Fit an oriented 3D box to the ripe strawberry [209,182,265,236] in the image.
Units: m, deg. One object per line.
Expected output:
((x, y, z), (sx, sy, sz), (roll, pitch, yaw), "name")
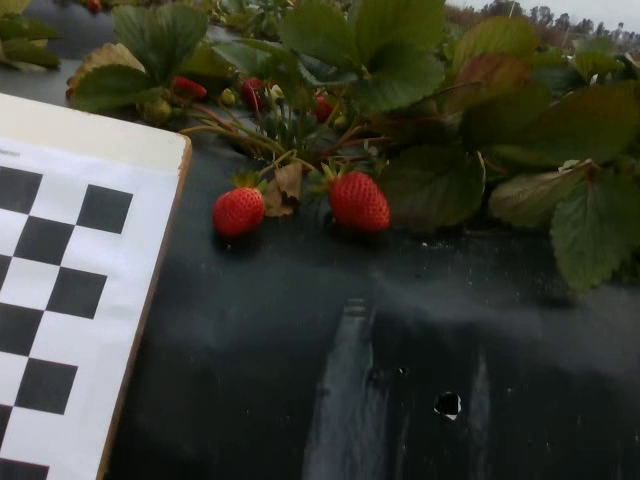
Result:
((-0.049, -0.019, 0.364), (0.036, 0.041, 0.028), (7, -38, 5), "ripe strawberry")

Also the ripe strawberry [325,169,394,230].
((0.026, -0.025, 0.390), (0.044, 0.059, 0.042), (-38, -33, -7), "ripe strawberry")
